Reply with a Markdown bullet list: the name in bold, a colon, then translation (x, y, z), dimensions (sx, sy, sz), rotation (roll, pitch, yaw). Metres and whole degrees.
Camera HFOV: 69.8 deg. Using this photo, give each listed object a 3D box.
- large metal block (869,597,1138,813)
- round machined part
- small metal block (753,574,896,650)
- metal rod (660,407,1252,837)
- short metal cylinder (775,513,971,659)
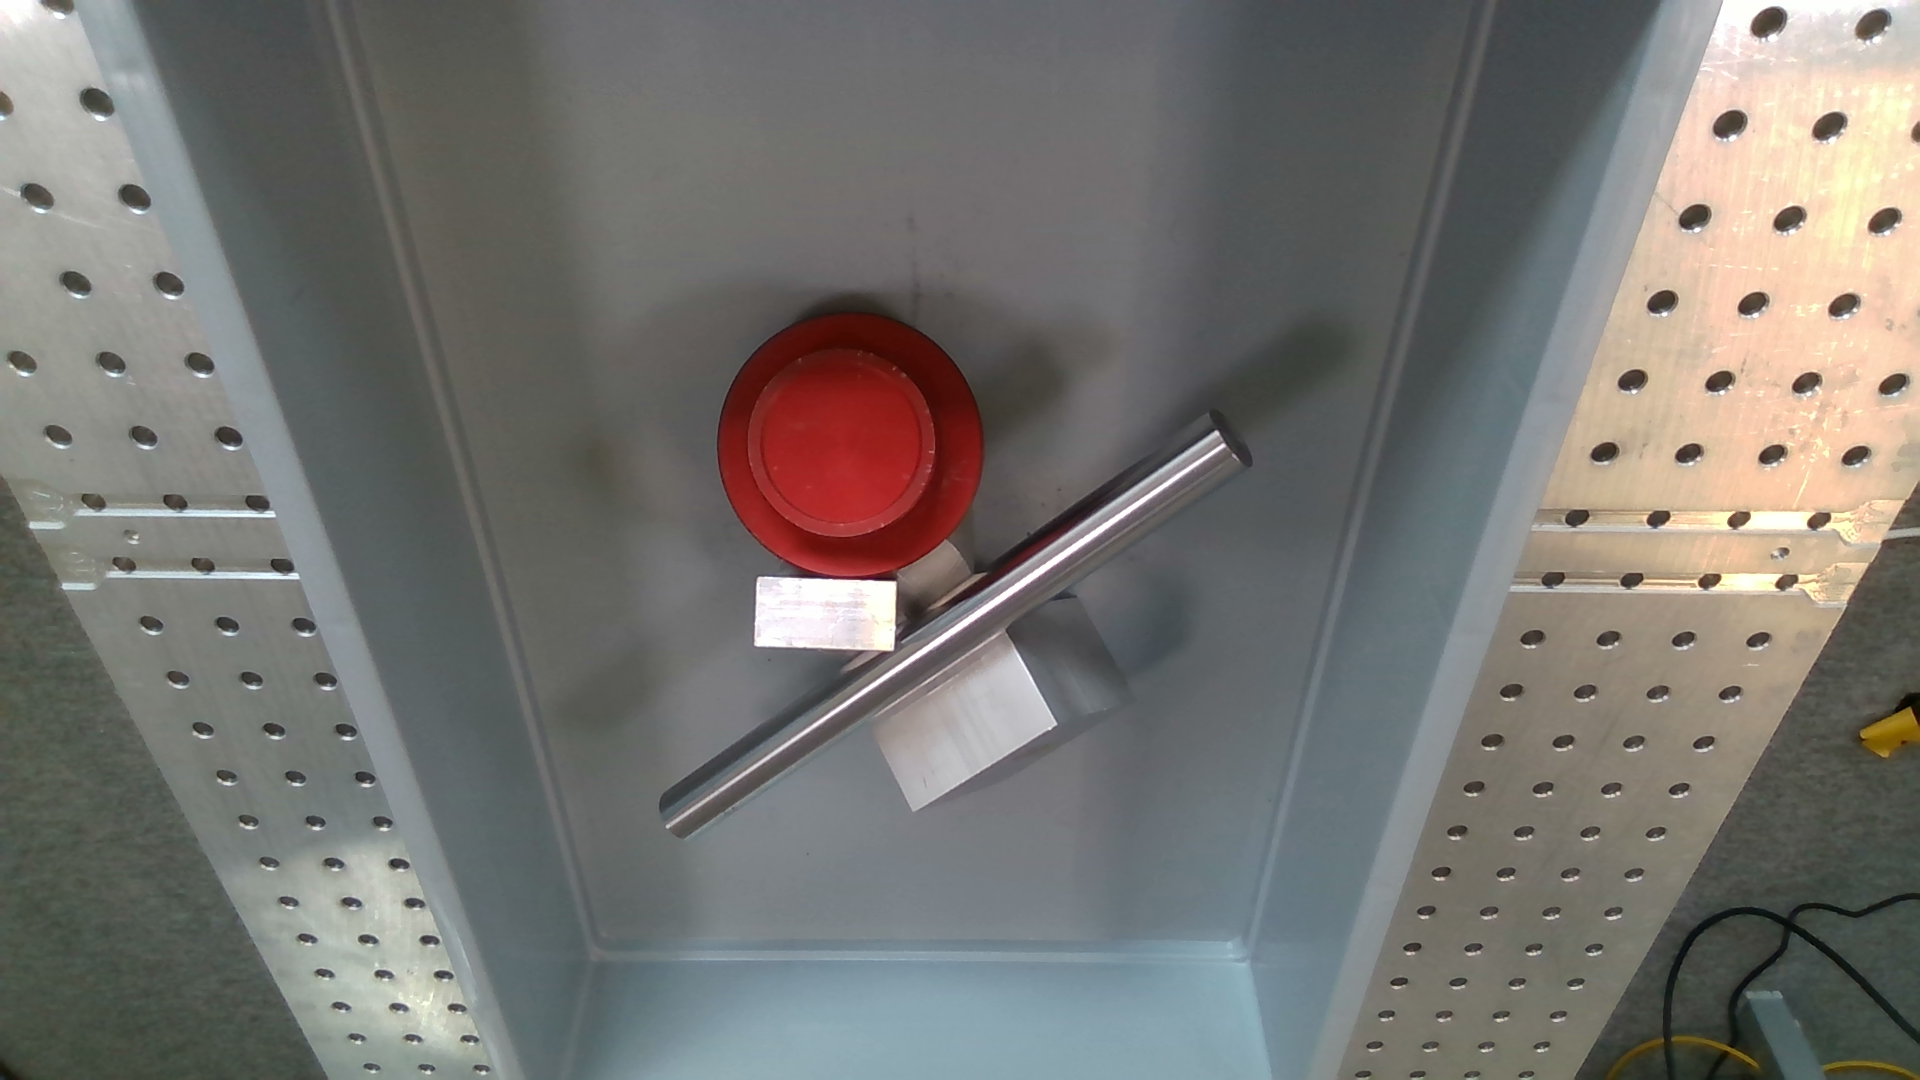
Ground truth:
- **large metal block**: translation (0.017, 0.069, 0.592), dimensions (0.080, 0.050, 0.080), rotation (-36, 164, 27)
- **round machined part**: translation (-0.041, -0.035, 0.504), dimensions (0.098, 0.042, 0.098), rotation (0, 92, 3)
- **small metal block**: translation (-0.049, 0.026, 0.516), dimensions (0.050, 0.050, 0.025), rotation (2, 90, -2)
- **metal rod**: translation (-0.015, 0.042, 0.549), dimensions (0.300, 0.025, 0.025), rotation (-36, 122, 26)
- **short metal cylinder**: translation (-0.034, 0.005, 0.566), dimensions (0.080, 0.050, 0.080), rotation (0, 130, 0)
